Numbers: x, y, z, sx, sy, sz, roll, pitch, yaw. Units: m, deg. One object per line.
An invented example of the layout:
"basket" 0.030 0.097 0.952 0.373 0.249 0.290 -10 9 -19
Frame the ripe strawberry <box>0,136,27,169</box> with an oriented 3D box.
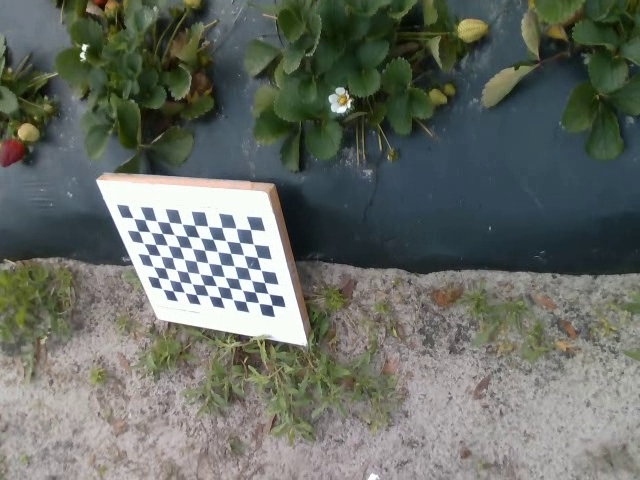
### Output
"ripe strawberry" -0.532 -0.143 1.094 0.046 0.059 0.046 1 -33 30
